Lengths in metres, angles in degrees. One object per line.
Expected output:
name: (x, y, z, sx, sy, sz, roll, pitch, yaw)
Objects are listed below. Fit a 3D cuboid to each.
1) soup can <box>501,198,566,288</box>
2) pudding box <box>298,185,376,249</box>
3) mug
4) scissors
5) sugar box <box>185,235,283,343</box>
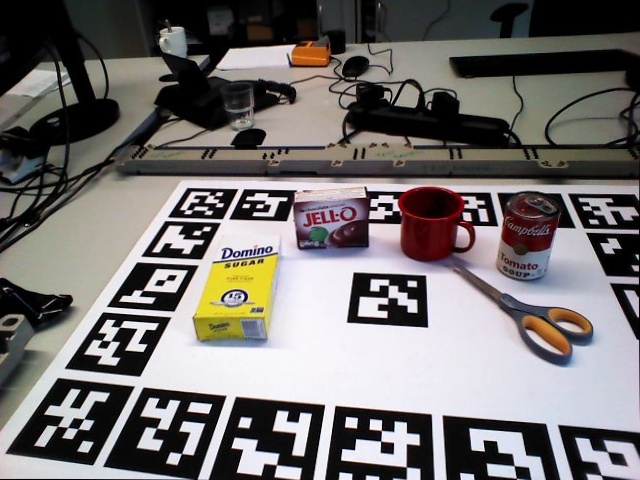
soup can: (0.280, 0.004, 0.687, 0.068, 0.102, 0.067, -5, 36, 3)
pudding box: (0.026, -0.034, 0.767, 0.114, 0.090, 0.038, -3, 44, 4)
mug: (0.174, -0.023, 0.742, 0.093, 0.081, 0.117, -22, 39, -15)
scissors: (0.244, 0.088, 0.639, 0.087, 0.016, 0.203, -32, 44, -15)
sugar box: (-0.112, 0.062, 0.713, 0.093, 0.045, 0.175, -1, 39, 10)
